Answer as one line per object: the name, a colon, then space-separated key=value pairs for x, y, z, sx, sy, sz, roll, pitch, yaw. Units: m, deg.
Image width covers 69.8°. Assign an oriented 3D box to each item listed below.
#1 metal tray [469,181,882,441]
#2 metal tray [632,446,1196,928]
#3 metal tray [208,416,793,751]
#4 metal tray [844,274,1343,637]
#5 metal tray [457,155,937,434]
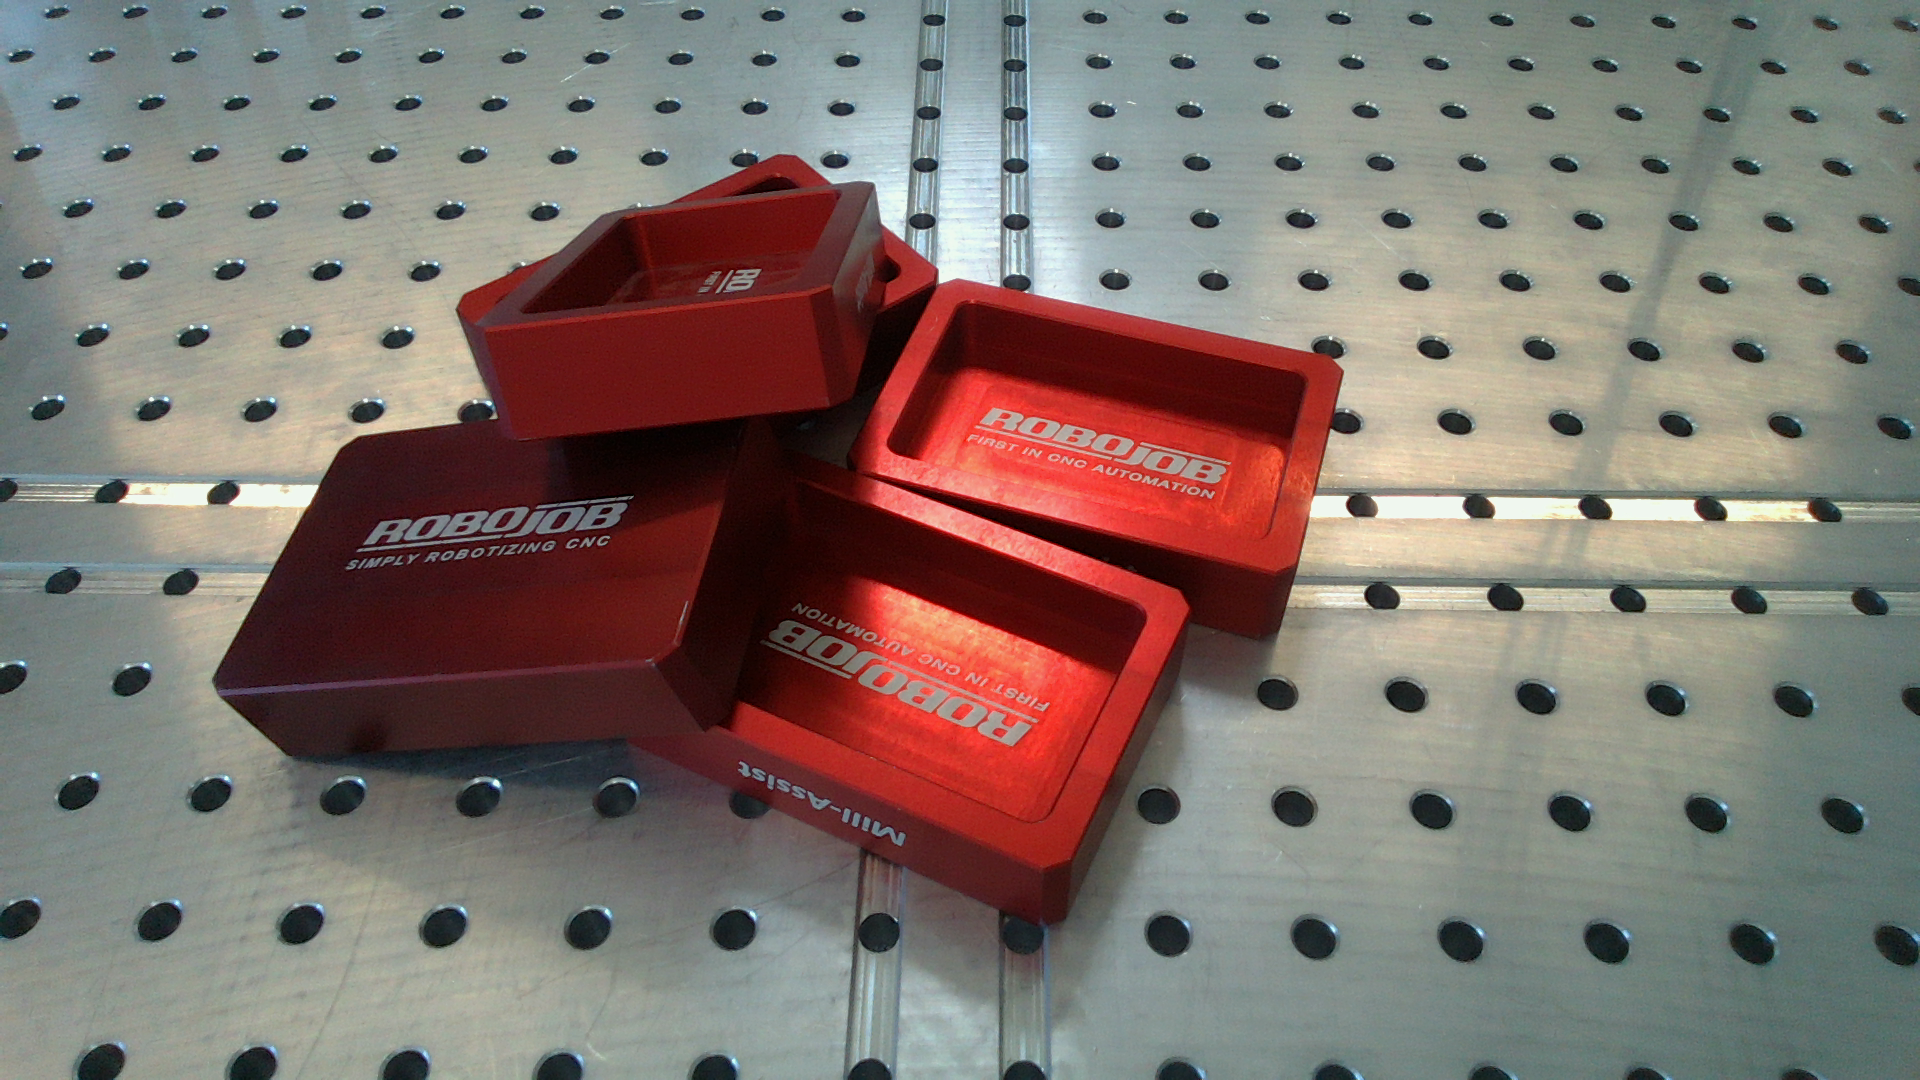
metal tray: x=-0.072 y=-0.071 z=0.395 sx=0.090 sy=0.030 sz=0.130 roll=-6 pitch=26 yaw=5
metal tray: x=-0.015 y=0.033 z=0.362 sx=0.130 sy=0.030 sz=0.090 roll=20 pitch=53 yaw=16
metal tray: x=-0.117 y=0.008 z=0.362 sx=0.130 sy=0.030 sz=0.090 roll=-4 pitch=49 yaw=15
metal tray: x=0.041 y=-0.029 z=0.414 sx=0.130 sy=0.030 sz=0.090 roll=14 pitch=52 yaw=12
metal tray: x=-0.083 y=-0.071 z=0.450 sx=0.130 sy=0.030 sz=0.090 roll=-32 pitch=56 yaw=-24
